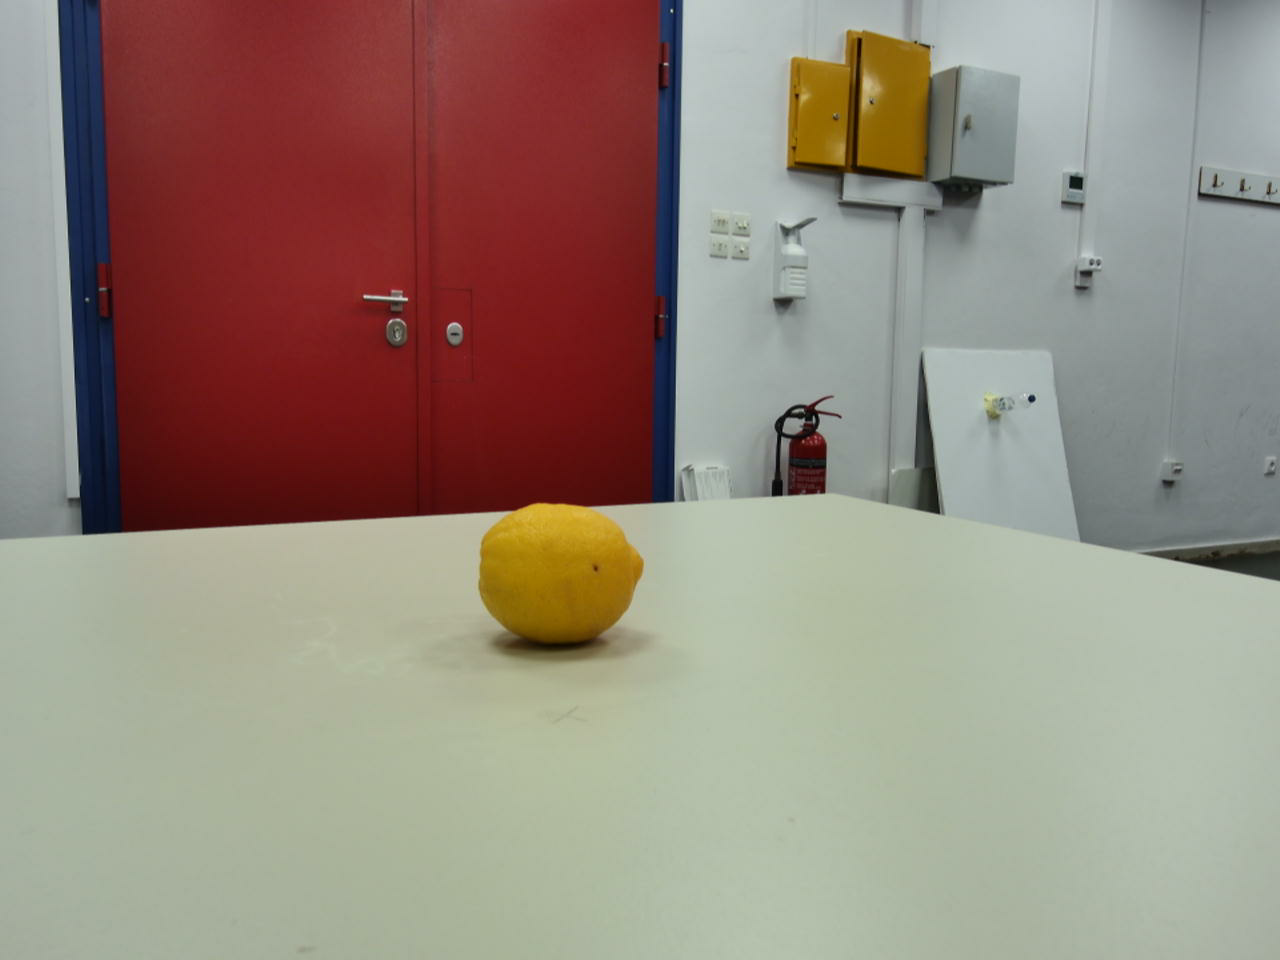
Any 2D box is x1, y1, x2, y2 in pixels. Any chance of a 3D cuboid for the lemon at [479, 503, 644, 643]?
[{"bbox_3d":[-0.035,0.040,0.429,0.067,0.059,0.060,1,4,16],"label":"lemon"}]
